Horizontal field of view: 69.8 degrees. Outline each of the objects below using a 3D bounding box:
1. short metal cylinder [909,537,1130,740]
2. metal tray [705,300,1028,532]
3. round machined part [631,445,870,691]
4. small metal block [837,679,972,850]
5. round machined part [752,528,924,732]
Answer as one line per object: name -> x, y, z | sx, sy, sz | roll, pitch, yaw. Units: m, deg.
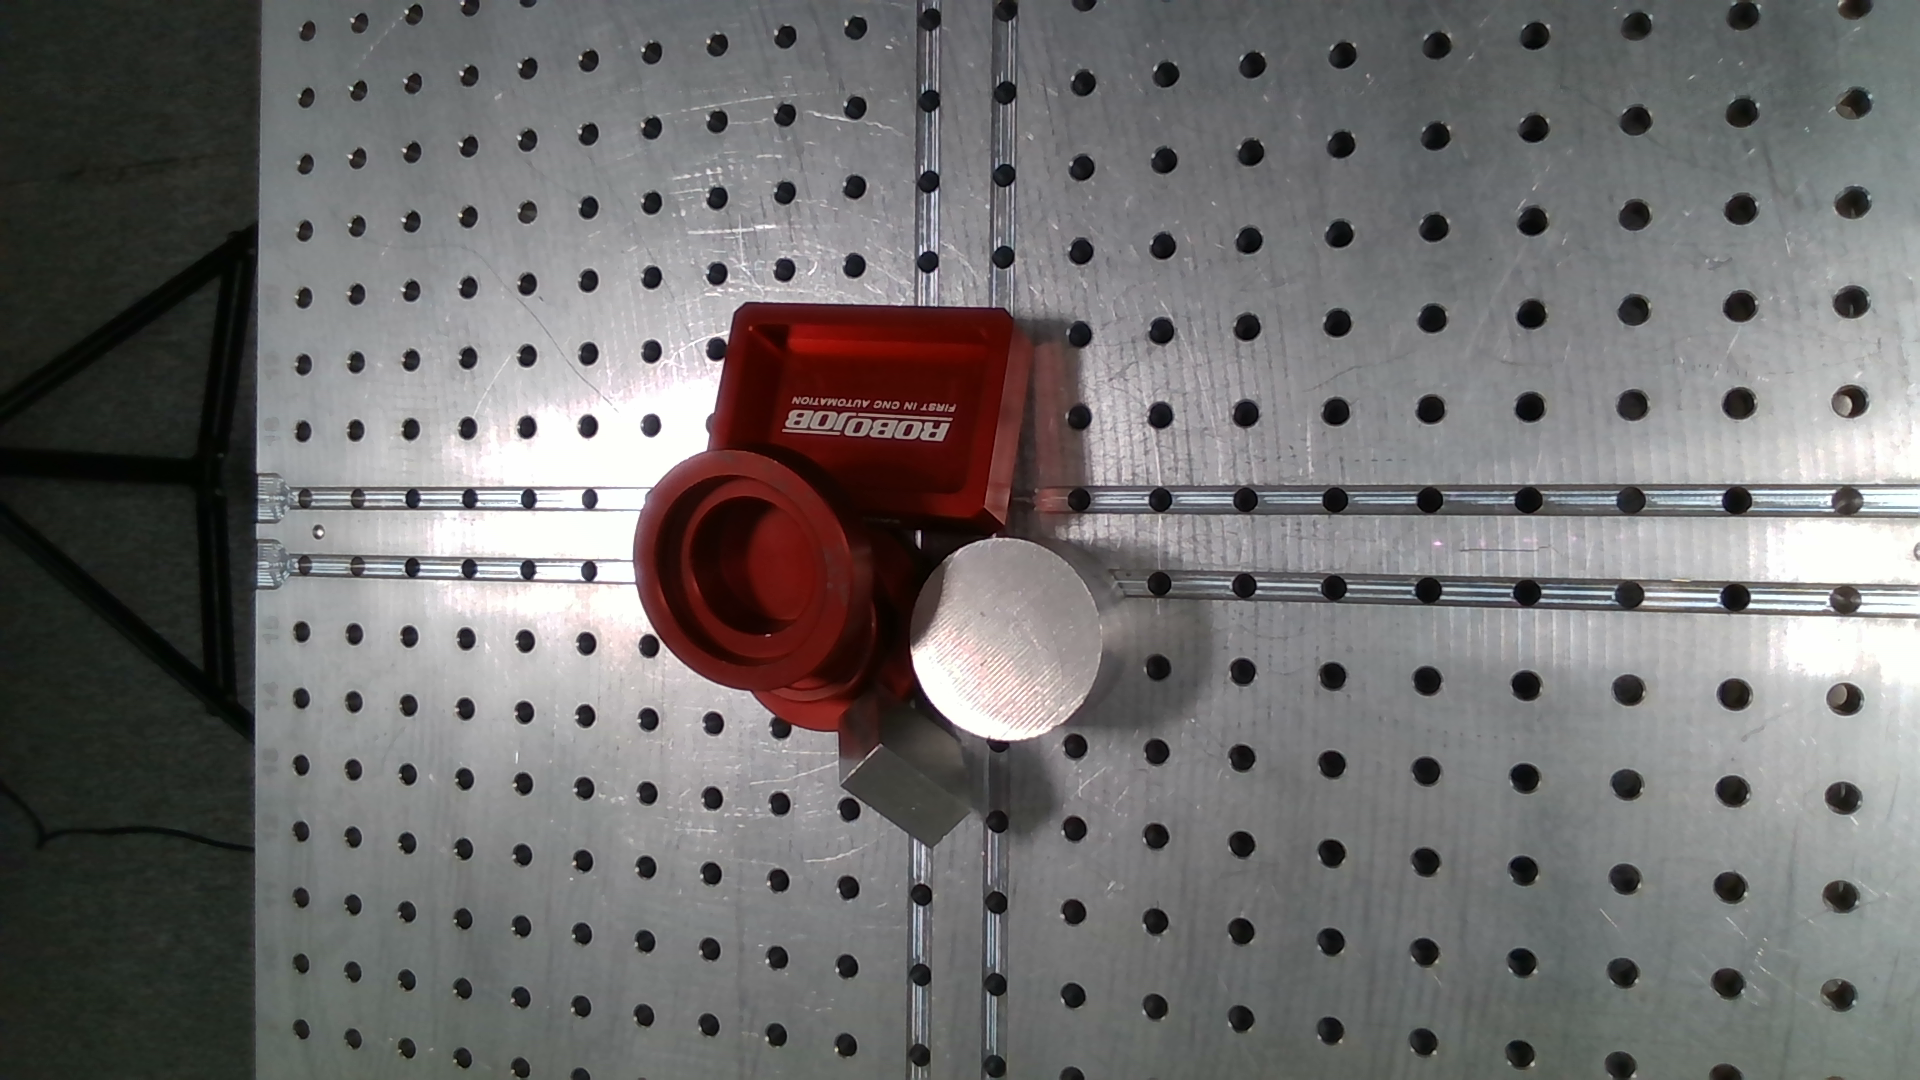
short metal cylinder -> 0.026, 0.039, 0.565 | 0.080, 0.050, 0.080 | 0, 90, 20
metal tray -> -0.041, -0.054, 0.588 | 0.130, 0.030, 0.090 | 5, 78, 20
round machined part -> -0.080, 0.009, 0.558 | 0.098, 0.042, 0.098 | 4, 102, 21
small metal block -> -0.024, 0.093, 0.574 | 0.050, 0.050, 0.025 | 39, 106, -20
round machined part -> -0.061, 0.035, 0.601 | 0.098, 0.042, 0.098 | 0, 91, 20
